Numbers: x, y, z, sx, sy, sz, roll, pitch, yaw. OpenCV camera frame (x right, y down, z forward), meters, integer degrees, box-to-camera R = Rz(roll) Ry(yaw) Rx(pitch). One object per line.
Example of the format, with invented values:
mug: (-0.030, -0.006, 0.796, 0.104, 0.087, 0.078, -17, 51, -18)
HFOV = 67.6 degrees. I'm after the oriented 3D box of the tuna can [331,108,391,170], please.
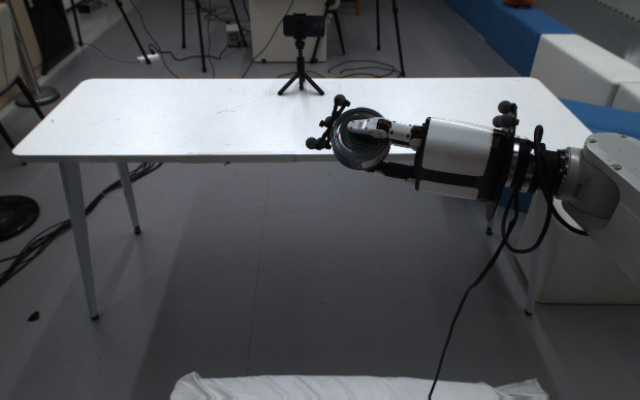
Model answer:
tuna can: (0.060, -0.089, 0.693, 0.085, 0.034, 0.085, -2, 71, 6)
